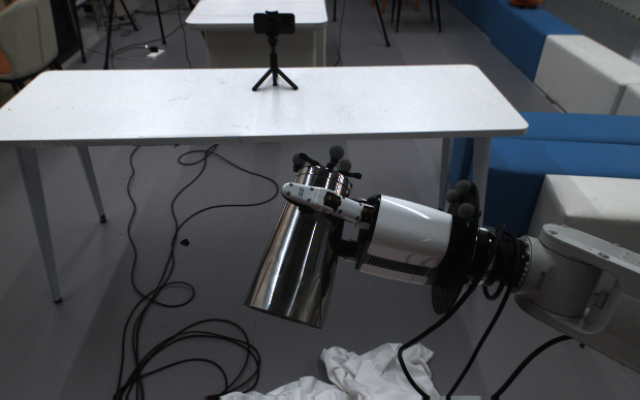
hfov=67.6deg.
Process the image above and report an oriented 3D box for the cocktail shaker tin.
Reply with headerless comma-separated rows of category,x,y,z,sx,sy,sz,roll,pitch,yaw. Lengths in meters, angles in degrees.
cocktail shaker tin,-0.016,0.050,0.556,0.093,0.093,0.170,12,72,14
